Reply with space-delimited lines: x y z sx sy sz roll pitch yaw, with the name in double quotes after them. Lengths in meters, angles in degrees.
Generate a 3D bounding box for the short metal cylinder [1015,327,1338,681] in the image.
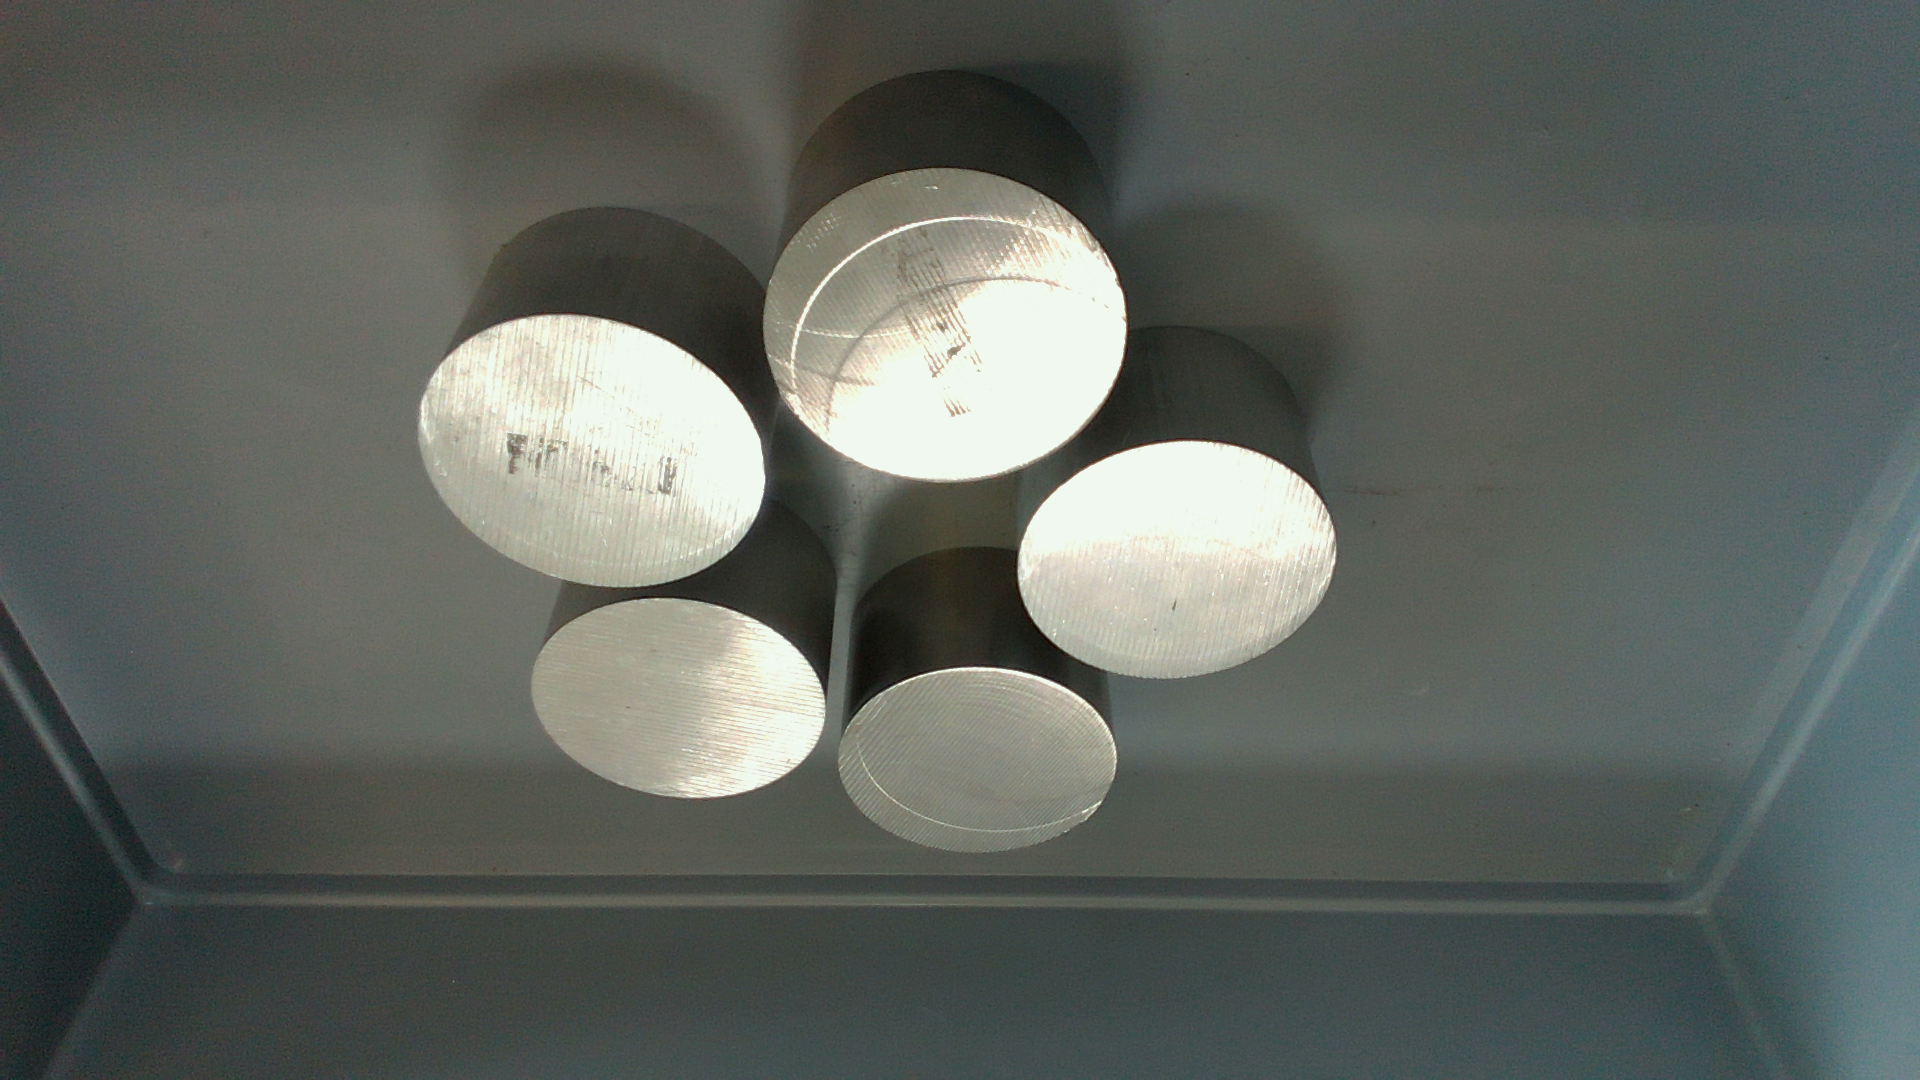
0.055 -0.009 0.365 0.080 0.050 0.080 0 130 0 "short metal cylinder"

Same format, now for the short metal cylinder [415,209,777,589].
-0.087 -0.034 0.343 0.080 0.050 0.080 0 130 0 "short metal cylinder"

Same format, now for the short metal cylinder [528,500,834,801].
-0.078 0.030 0.397 0.080 0.050 0.080 0 130 0 "short metal cylinder"

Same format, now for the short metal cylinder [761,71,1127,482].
-0.003 -0.060 0.321 0.080 0.050 0.080 0 130 0 "short metal cylinder"

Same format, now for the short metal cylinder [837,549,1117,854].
0.005 0.049 0.414 0.080 0.050 0.080 0 130 0 "short metal cylinder"
